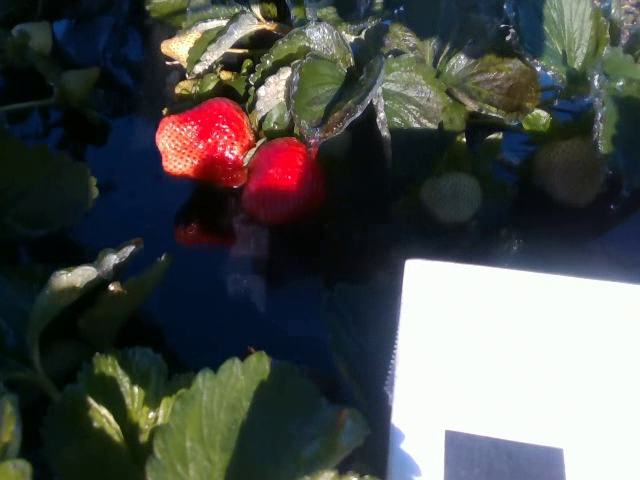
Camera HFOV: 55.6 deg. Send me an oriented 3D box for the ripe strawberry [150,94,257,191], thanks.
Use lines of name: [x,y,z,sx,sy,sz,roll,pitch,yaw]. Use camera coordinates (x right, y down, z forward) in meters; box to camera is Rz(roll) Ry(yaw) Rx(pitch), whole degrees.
ripe strawberry: [-0.065,-0.054,0.341,0.069,0.053,0.040,-28,-24,-20]

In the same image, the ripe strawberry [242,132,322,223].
ripe strawberry: [-0.022,-0.035,0.313,0.043,0.059,0.040,5,-36,10]
